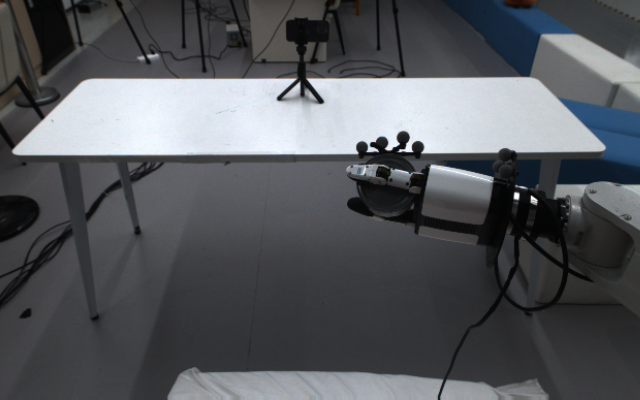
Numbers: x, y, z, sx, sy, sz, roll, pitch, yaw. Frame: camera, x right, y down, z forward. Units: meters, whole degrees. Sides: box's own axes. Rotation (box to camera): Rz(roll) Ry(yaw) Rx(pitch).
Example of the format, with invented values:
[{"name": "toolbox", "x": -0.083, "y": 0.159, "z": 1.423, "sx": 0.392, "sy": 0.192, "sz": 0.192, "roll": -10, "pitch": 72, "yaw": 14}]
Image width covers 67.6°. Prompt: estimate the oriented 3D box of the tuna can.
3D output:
[{"name": "tuna can", "x": 0.098, "y": -0.015, "z": 0.678, "sx": 0.085, "sy": 0.034, "sz": 0.085, "roll": -3, "pitch": 73, "yaw": 10}]
